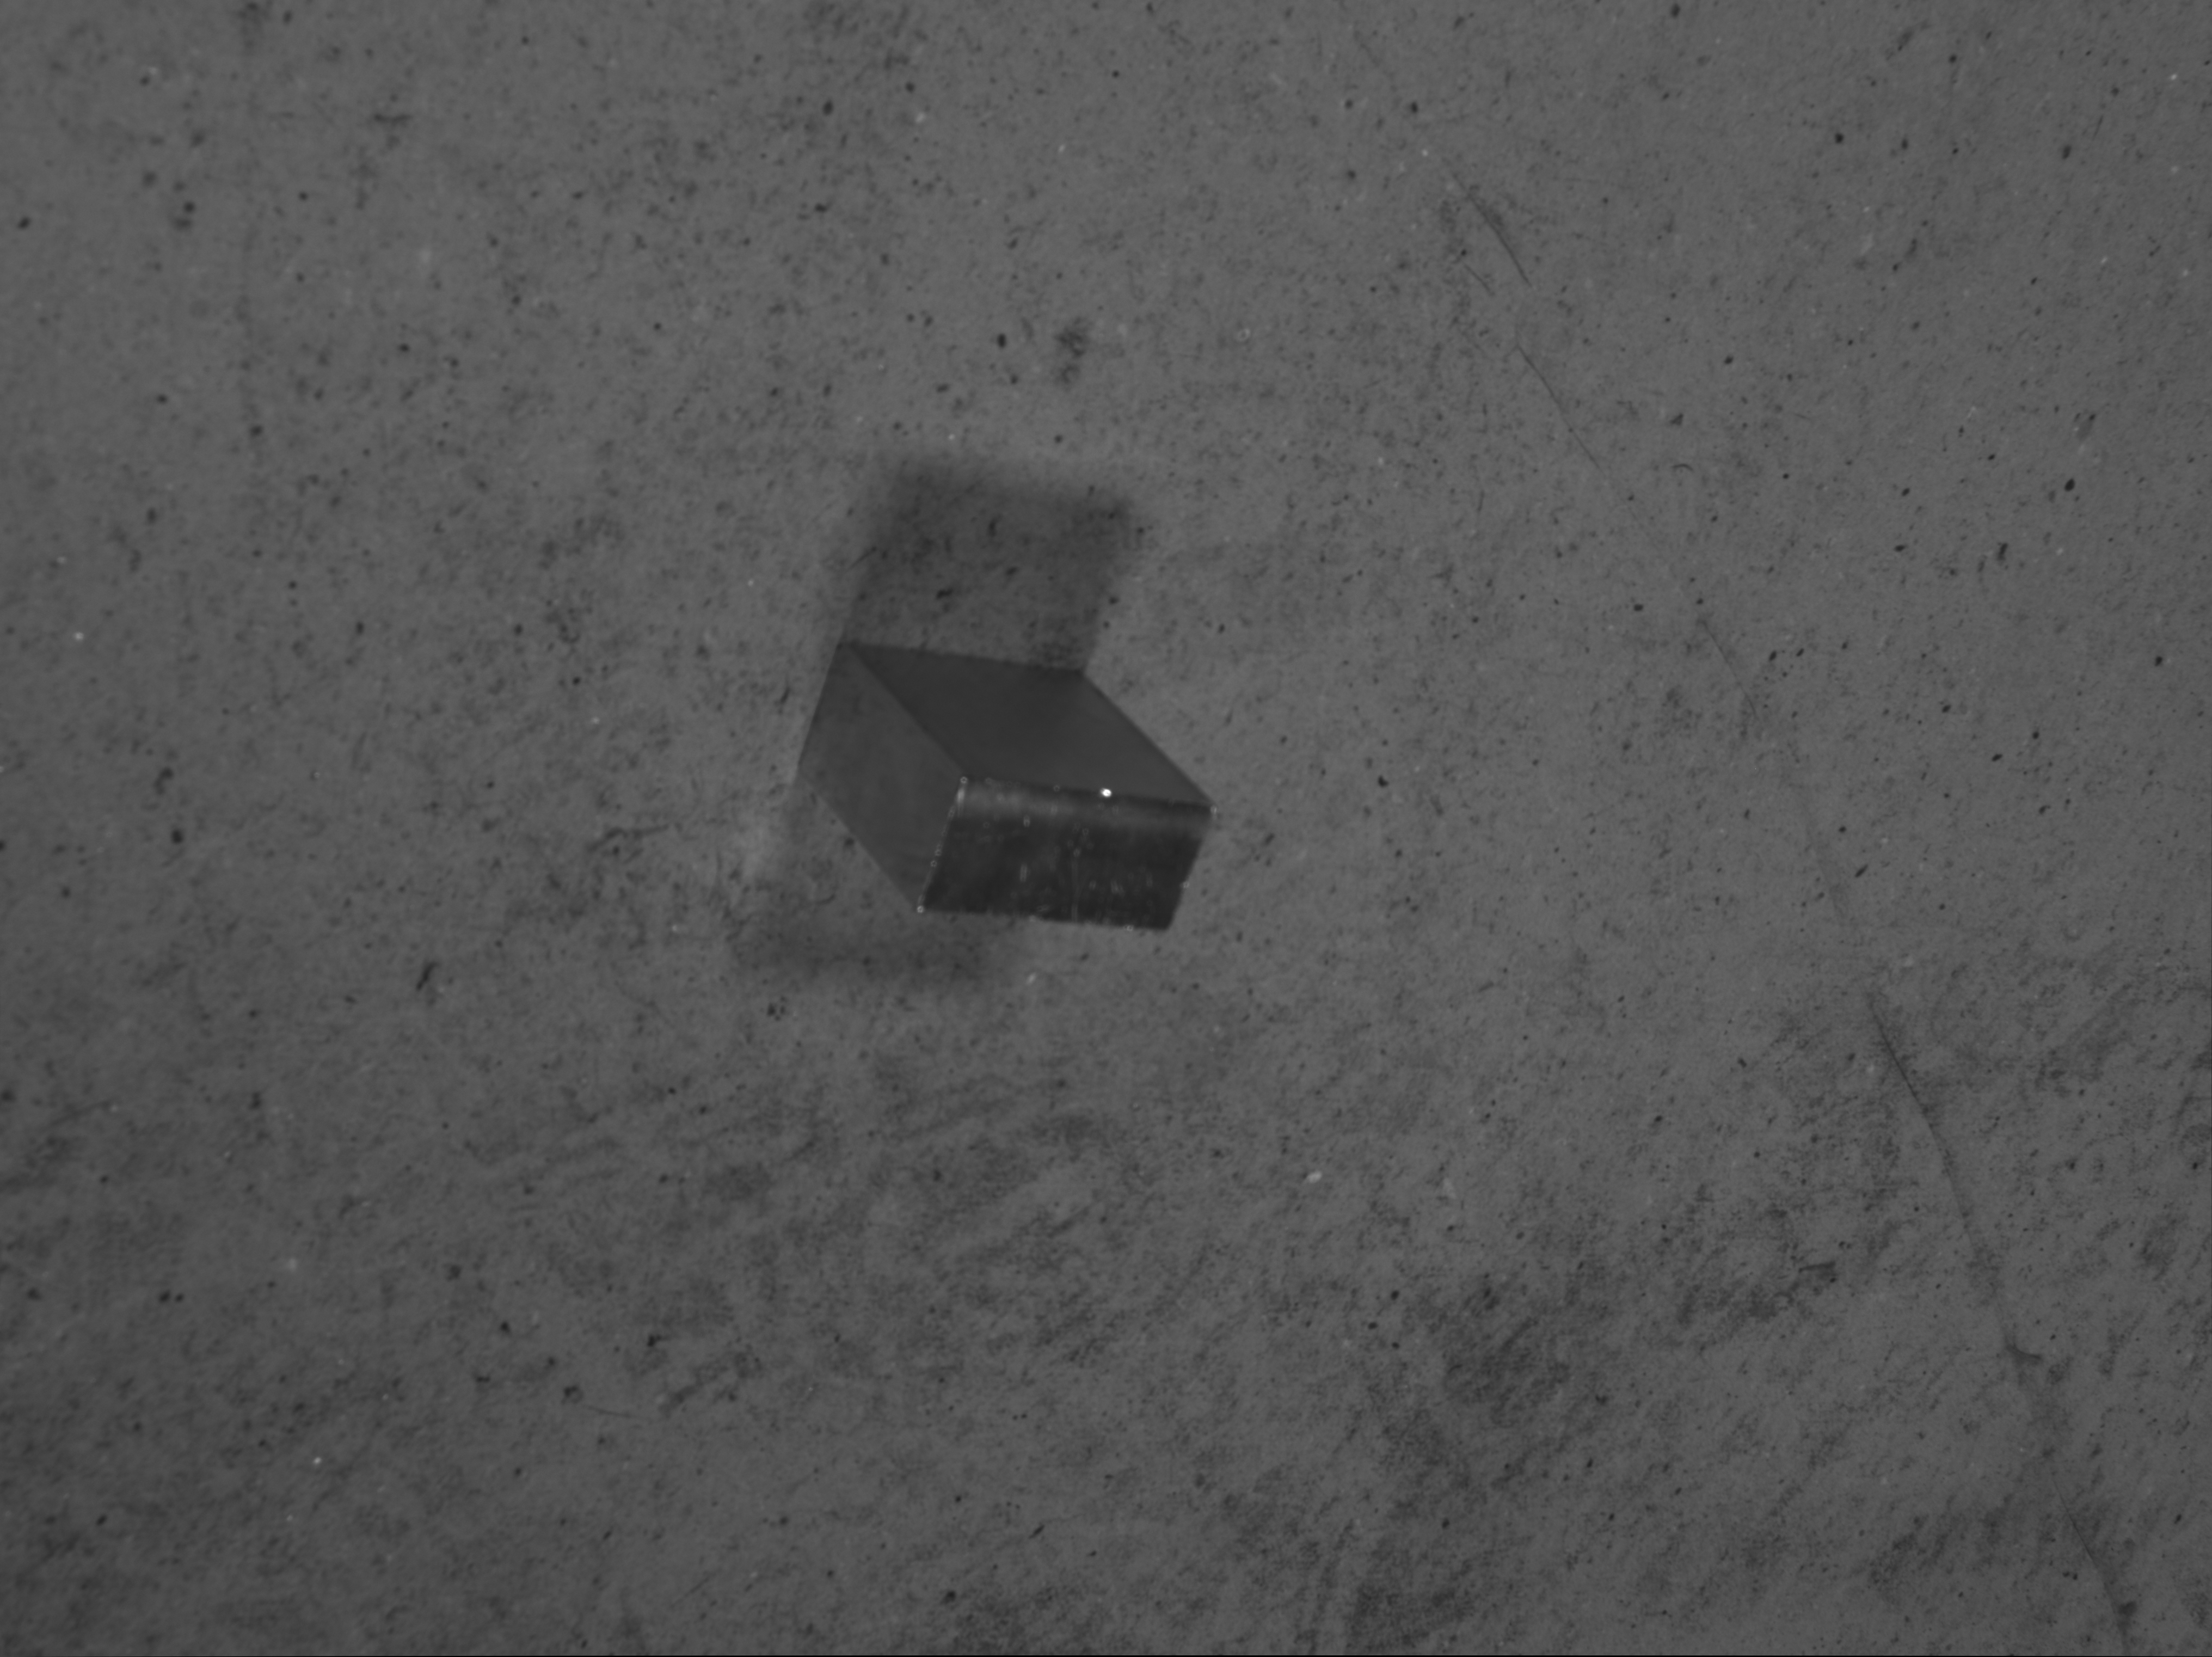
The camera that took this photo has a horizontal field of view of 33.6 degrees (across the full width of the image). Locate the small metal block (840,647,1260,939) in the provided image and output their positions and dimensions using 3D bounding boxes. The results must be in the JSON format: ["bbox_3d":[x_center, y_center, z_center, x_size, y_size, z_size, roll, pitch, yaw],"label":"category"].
[{"bbox_3d":[-0.010,-0.006,0.624,0.050,0.050,0.025,6,115,-33],"label":"small metal block"}]
